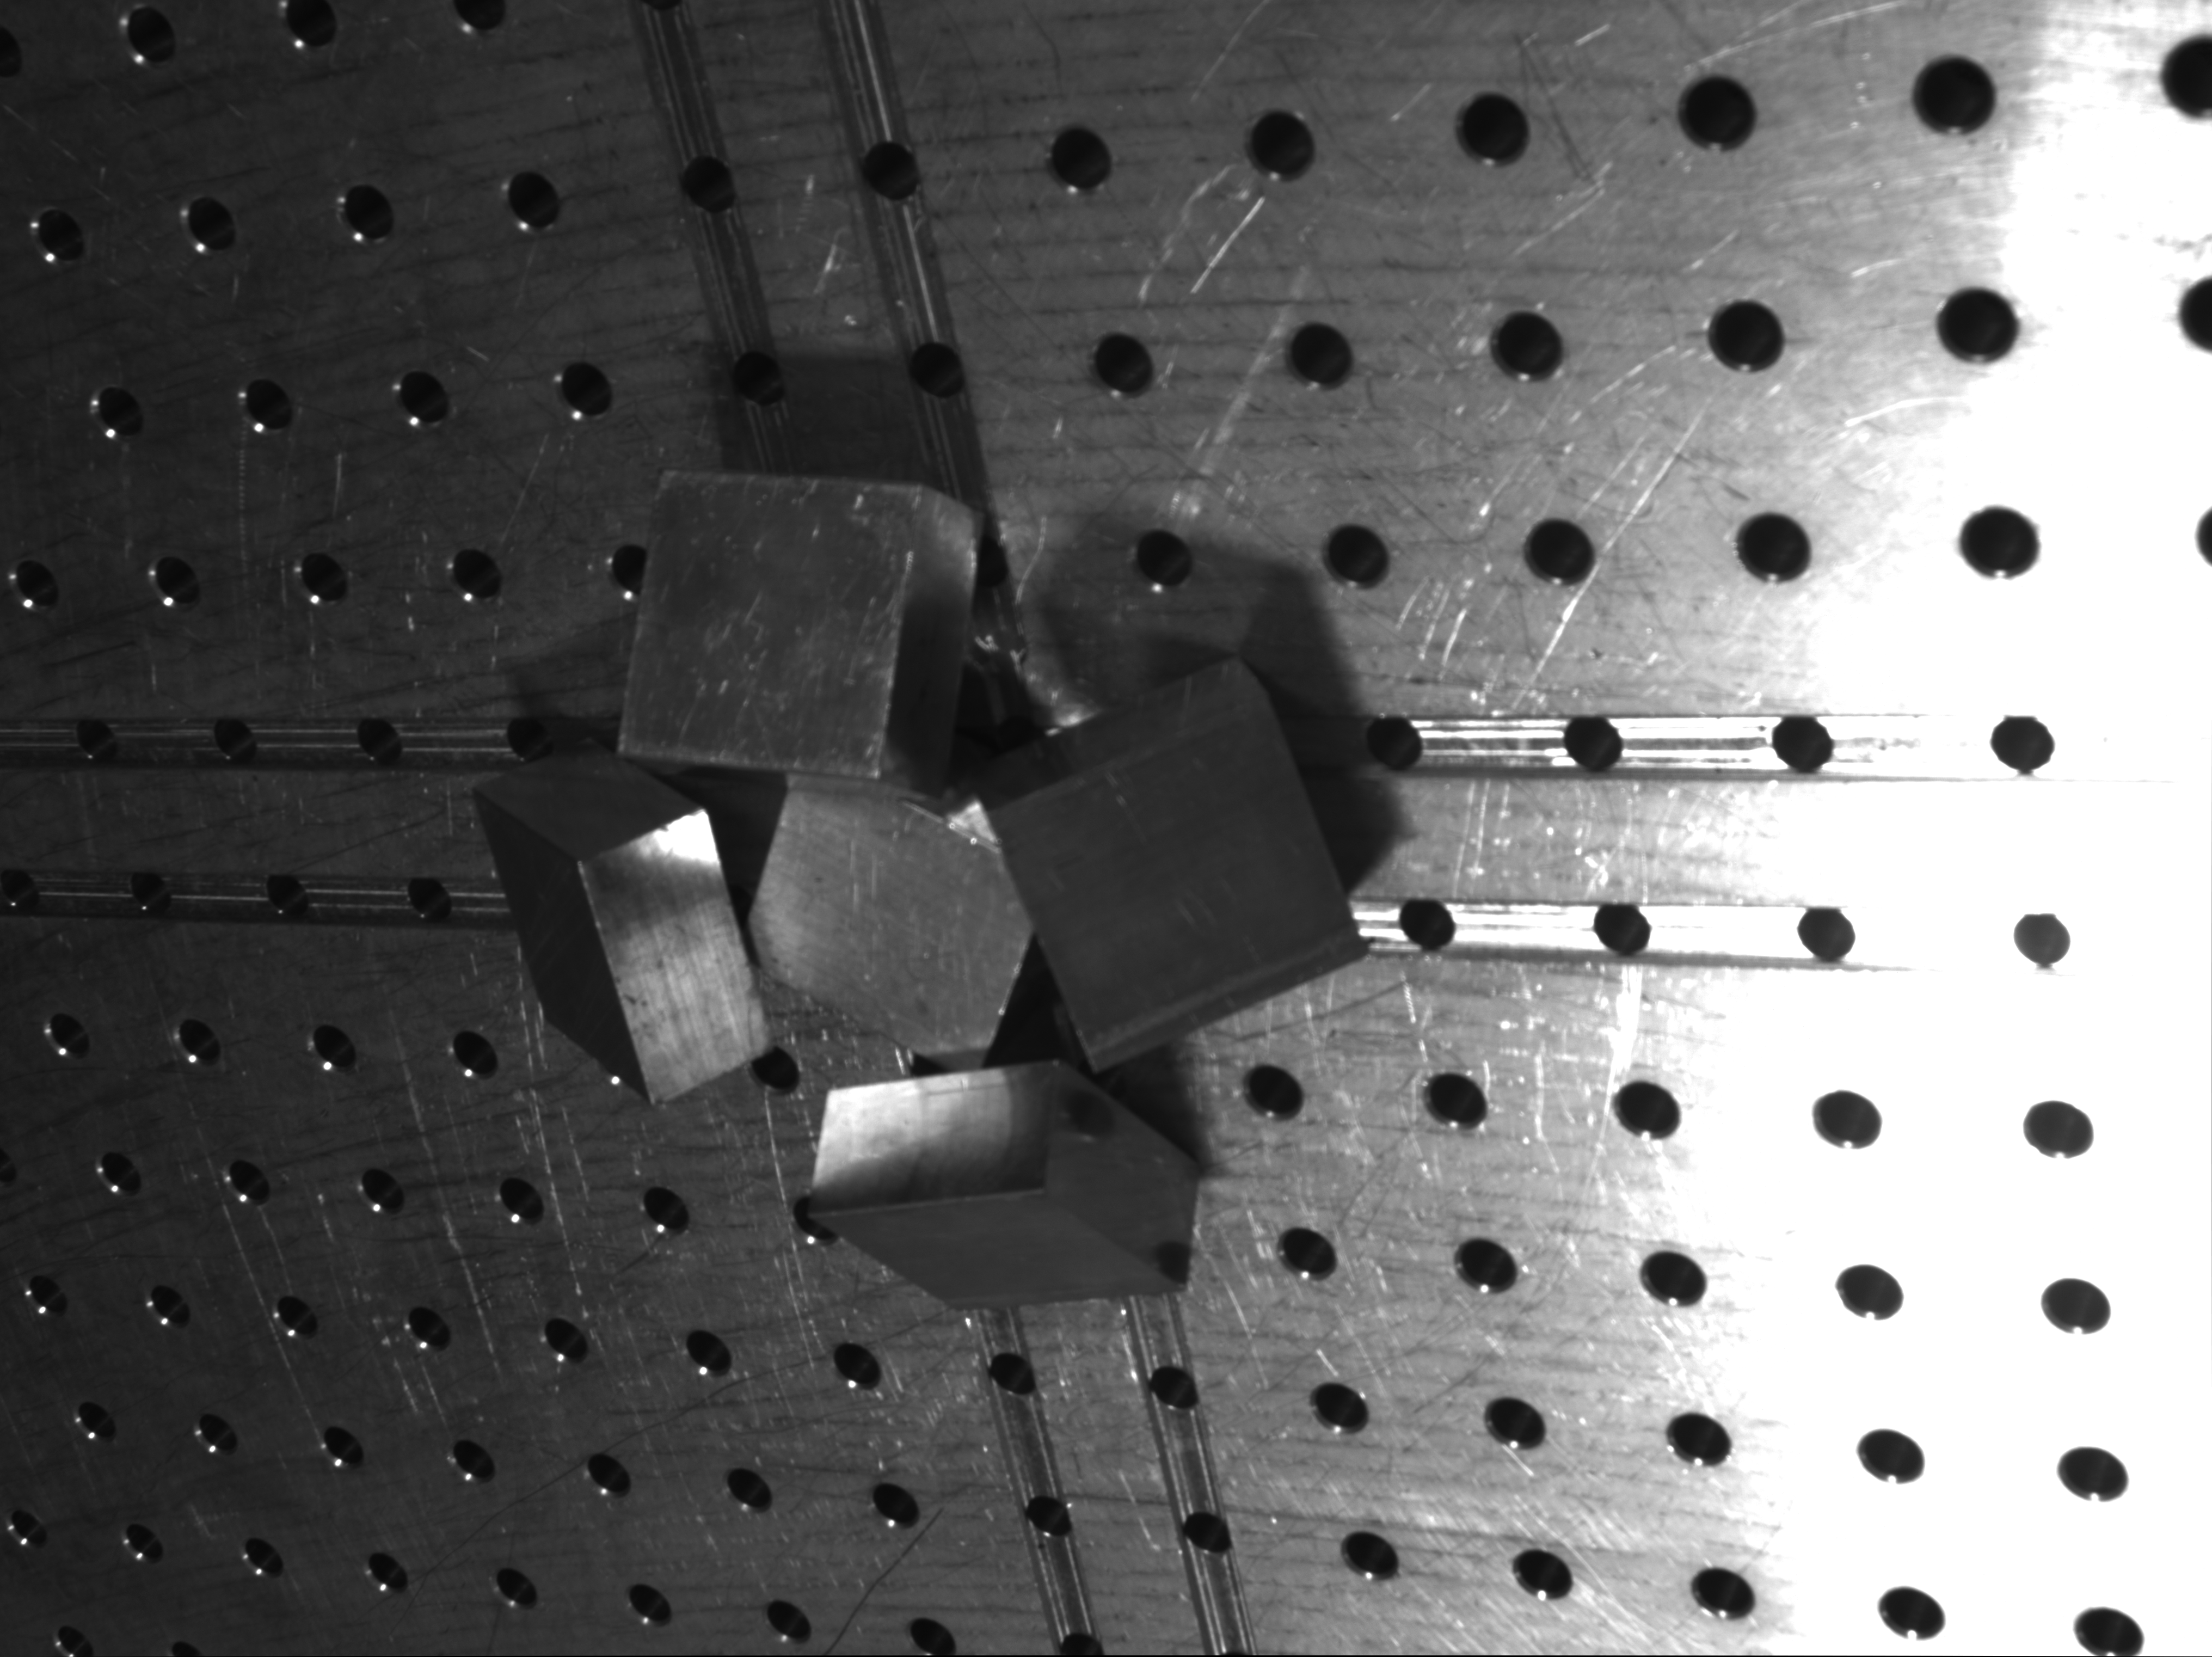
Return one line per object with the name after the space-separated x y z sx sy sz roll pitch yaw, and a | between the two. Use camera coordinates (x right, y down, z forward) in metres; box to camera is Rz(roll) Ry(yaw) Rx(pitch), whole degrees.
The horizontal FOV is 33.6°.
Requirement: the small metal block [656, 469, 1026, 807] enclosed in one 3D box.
-0.045 -0.032 0.621 0.050 0.025 0.050 6 85 24 | small metal block

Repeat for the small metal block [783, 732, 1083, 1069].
-0.026 0.010 0.653 0.050 0.025 0.050 28 127 9 | small metal block

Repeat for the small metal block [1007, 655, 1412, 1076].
0.017 0.006 0.614 0.050 0.025 0.050 -23 110 -2 | small metal block

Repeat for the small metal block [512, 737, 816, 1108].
-0.081 0.016 0.670 0.050 0.025 0.050 28 137 55 | small metal block

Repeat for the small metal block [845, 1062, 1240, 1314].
-0.011 0.066 0.663 0.050 0.025 0.050 -9 149 31 | small metal block
